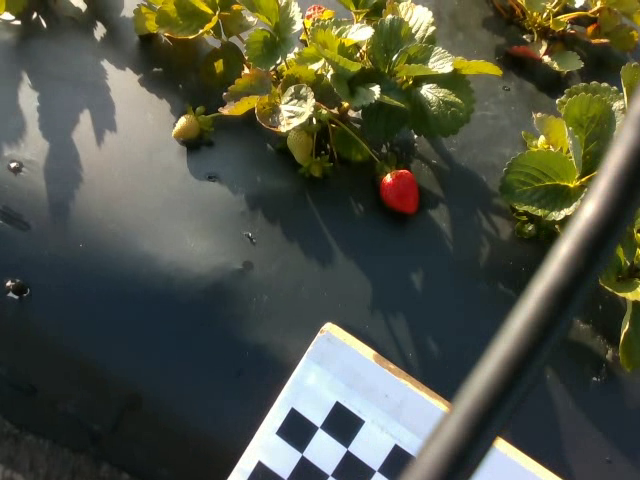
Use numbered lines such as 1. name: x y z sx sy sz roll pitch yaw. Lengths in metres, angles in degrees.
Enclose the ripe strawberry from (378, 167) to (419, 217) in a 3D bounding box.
1. ripe strawberry: 0.063 -0.034 0.441 0.030 0.044 0.033 -29 -34 18
